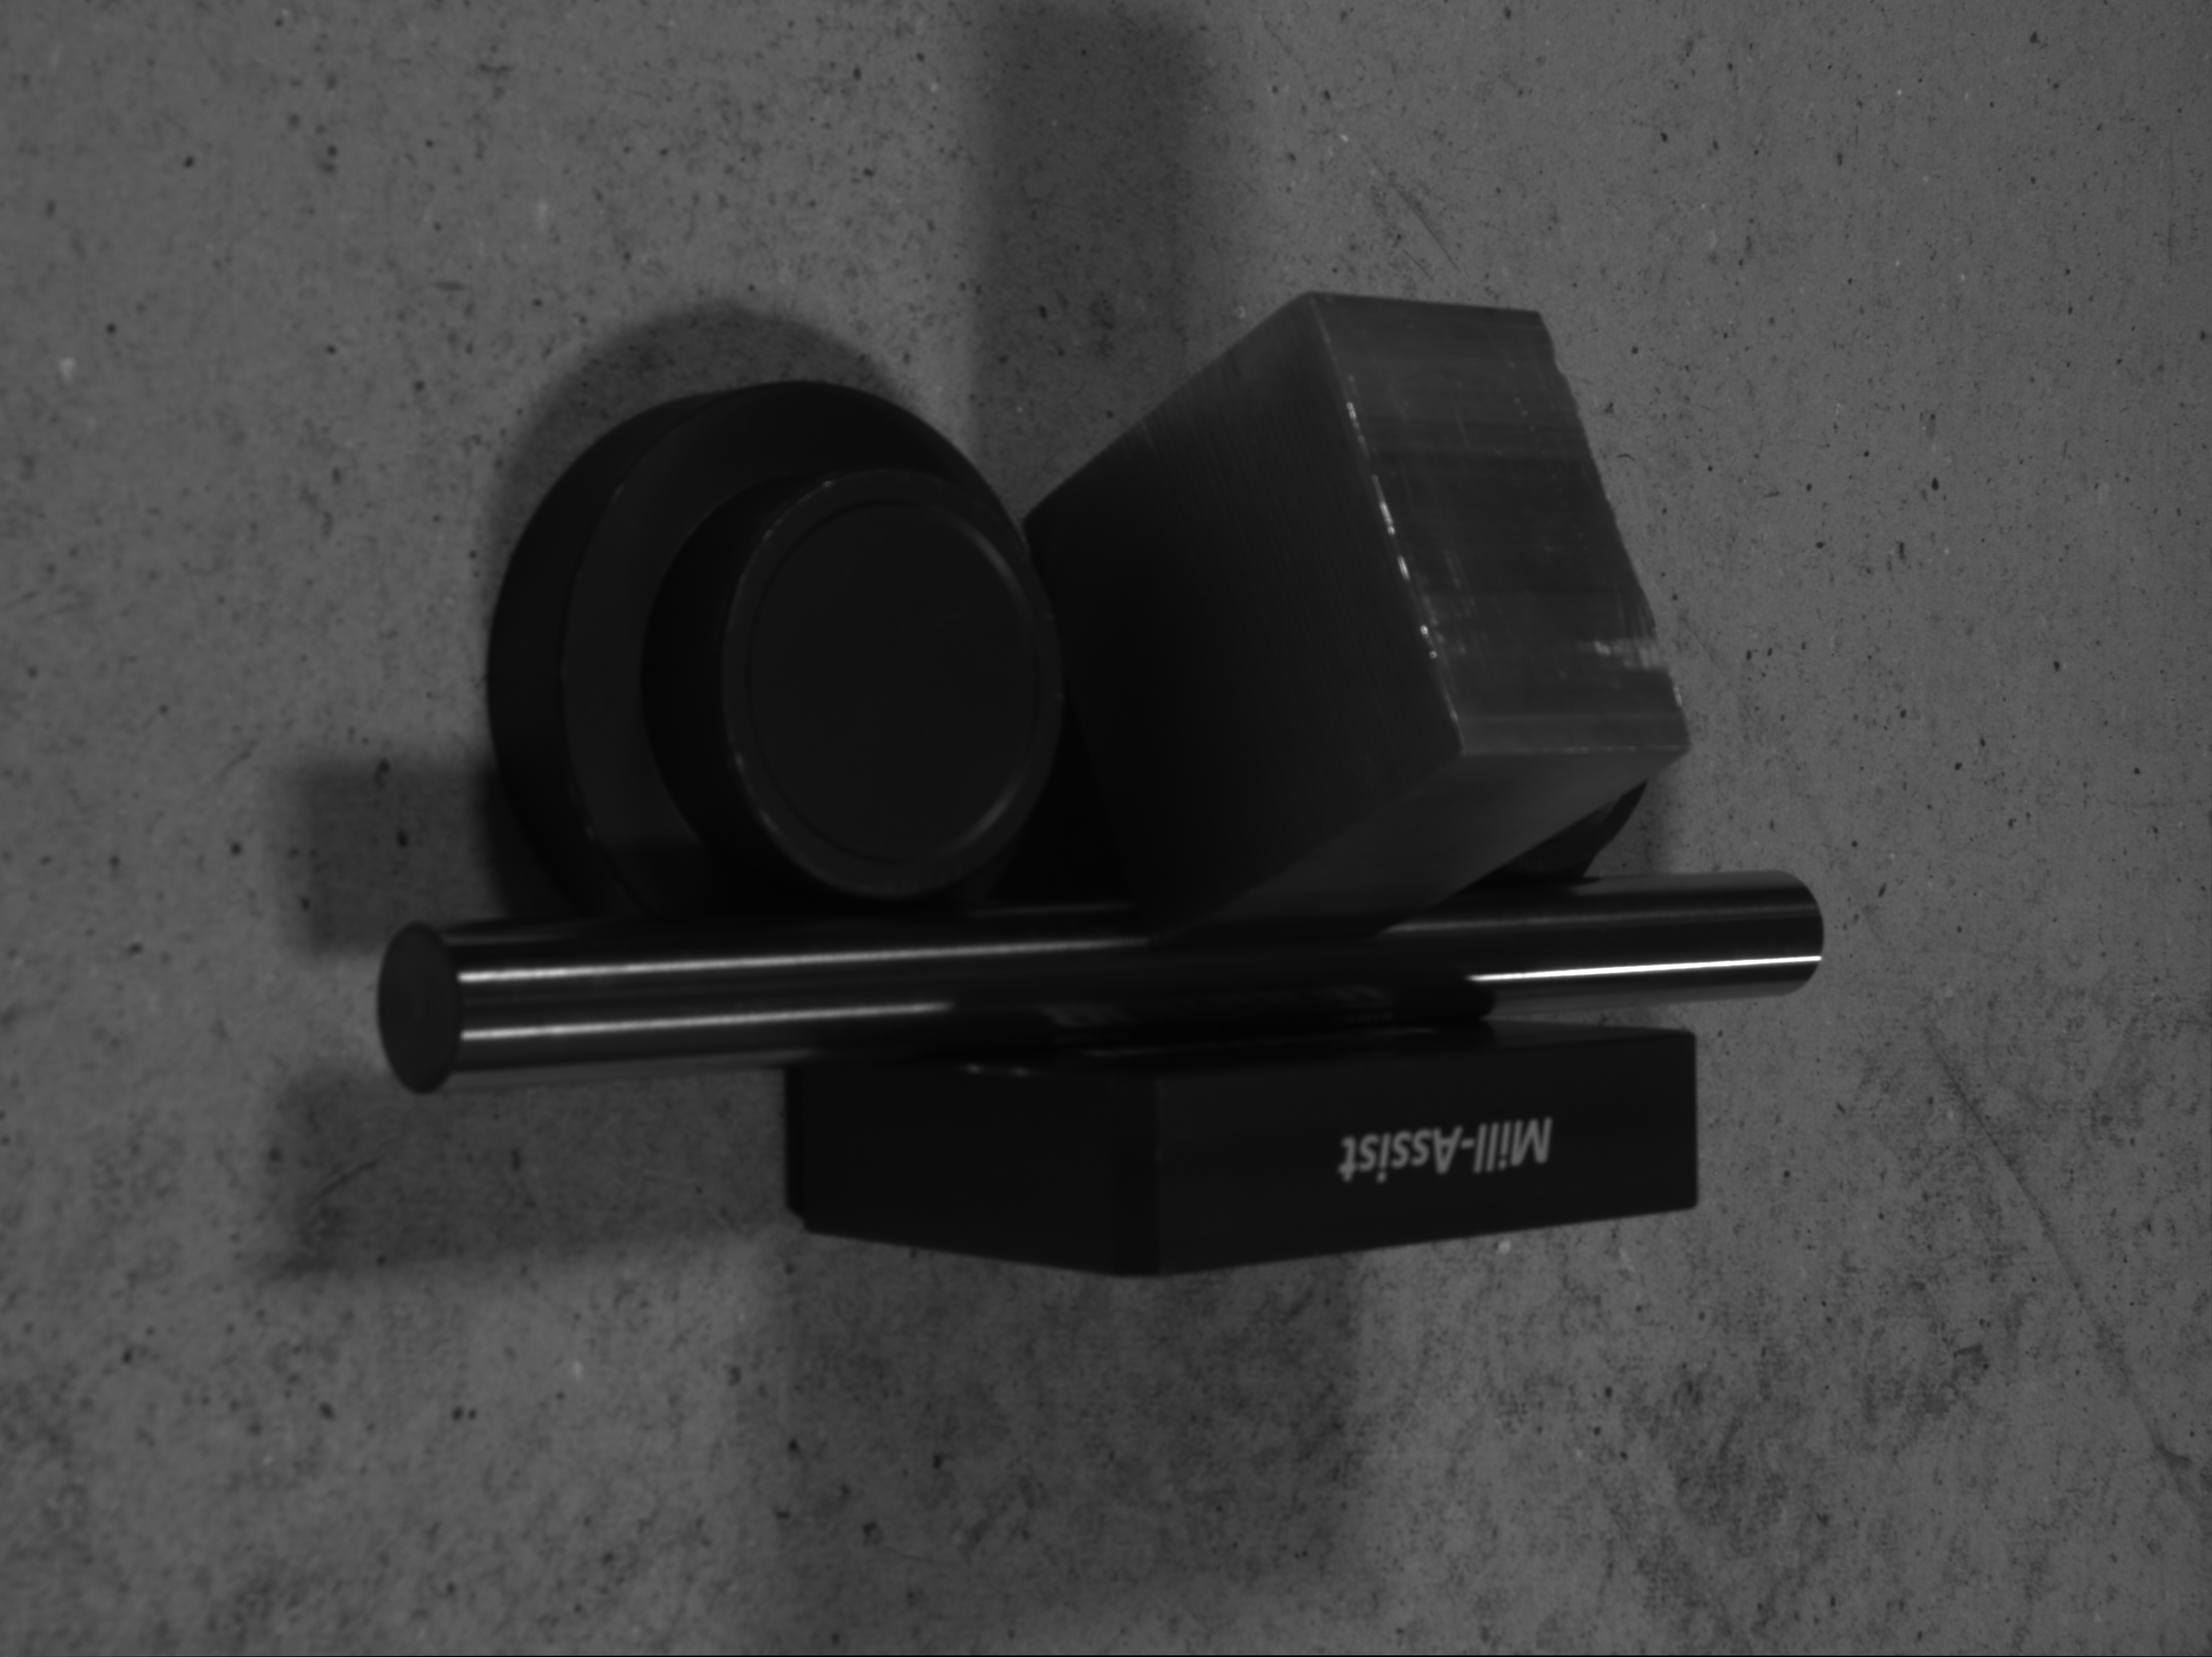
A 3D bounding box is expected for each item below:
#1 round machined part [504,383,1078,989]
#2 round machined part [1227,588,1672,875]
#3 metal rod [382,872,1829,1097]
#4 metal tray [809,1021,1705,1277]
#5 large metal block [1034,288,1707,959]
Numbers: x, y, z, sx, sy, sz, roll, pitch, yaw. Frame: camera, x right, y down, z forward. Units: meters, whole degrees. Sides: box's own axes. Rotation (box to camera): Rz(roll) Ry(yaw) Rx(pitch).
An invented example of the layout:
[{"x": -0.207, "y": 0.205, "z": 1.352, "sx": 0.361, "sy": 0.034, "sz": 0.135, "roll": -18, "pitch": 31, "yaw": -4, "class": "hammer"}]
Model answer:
[{"x": -0.044, "y": -0.023, "z": 0.588, "sx": 0.098, "sy": 0.042, "sz": 0.098, "roll": 0, "pitch": 90, "yaw": -40, "class": "round machined part"}, {"x": 0.068, "y": -0.026, "z": 0.682, "sx": 0.098, "sy": 0.042, "sz": 0.098, "roll": 0, "pitch": 90, "yaw": -40, "class": "round machined part"}, {"x": 0.017, "y": 0.024, "z": 0.625, "sx": 0.301, "sy": 0.025, "sz": 0.025, "roll": -1, "pitch": 91, "yaw": -40, "class": "metal rod"}, {"x": 0.027, "y": 0.051, "z": 0.617, "sx": 0.130, "sy": 0.090, "sz": 0.030, "roll": -1, "pitch": 91, "yaw": -40, "class": "metal tray"}, {"x": 0.041, "y": -0.032, "z": 0.601, "sx": 0.050, "sy": 0.080, "sz": 0.080, "roll": -3, "pitch": 68, "yaw": -40, "class": "large metal block"}]
